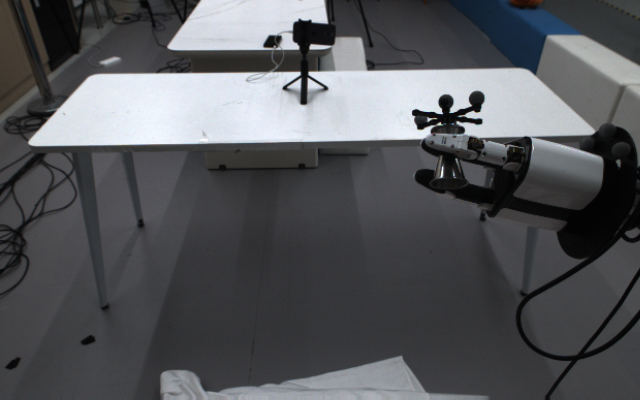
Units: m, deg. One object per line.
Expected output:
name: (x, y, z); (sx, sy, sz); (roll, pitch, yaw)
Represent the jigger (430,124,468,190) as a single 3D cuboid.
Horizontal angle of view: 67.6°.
jigger: (0.151, -0.051, 0.576); (0.043, 0.043, 0.071); (3, 75, 1)
